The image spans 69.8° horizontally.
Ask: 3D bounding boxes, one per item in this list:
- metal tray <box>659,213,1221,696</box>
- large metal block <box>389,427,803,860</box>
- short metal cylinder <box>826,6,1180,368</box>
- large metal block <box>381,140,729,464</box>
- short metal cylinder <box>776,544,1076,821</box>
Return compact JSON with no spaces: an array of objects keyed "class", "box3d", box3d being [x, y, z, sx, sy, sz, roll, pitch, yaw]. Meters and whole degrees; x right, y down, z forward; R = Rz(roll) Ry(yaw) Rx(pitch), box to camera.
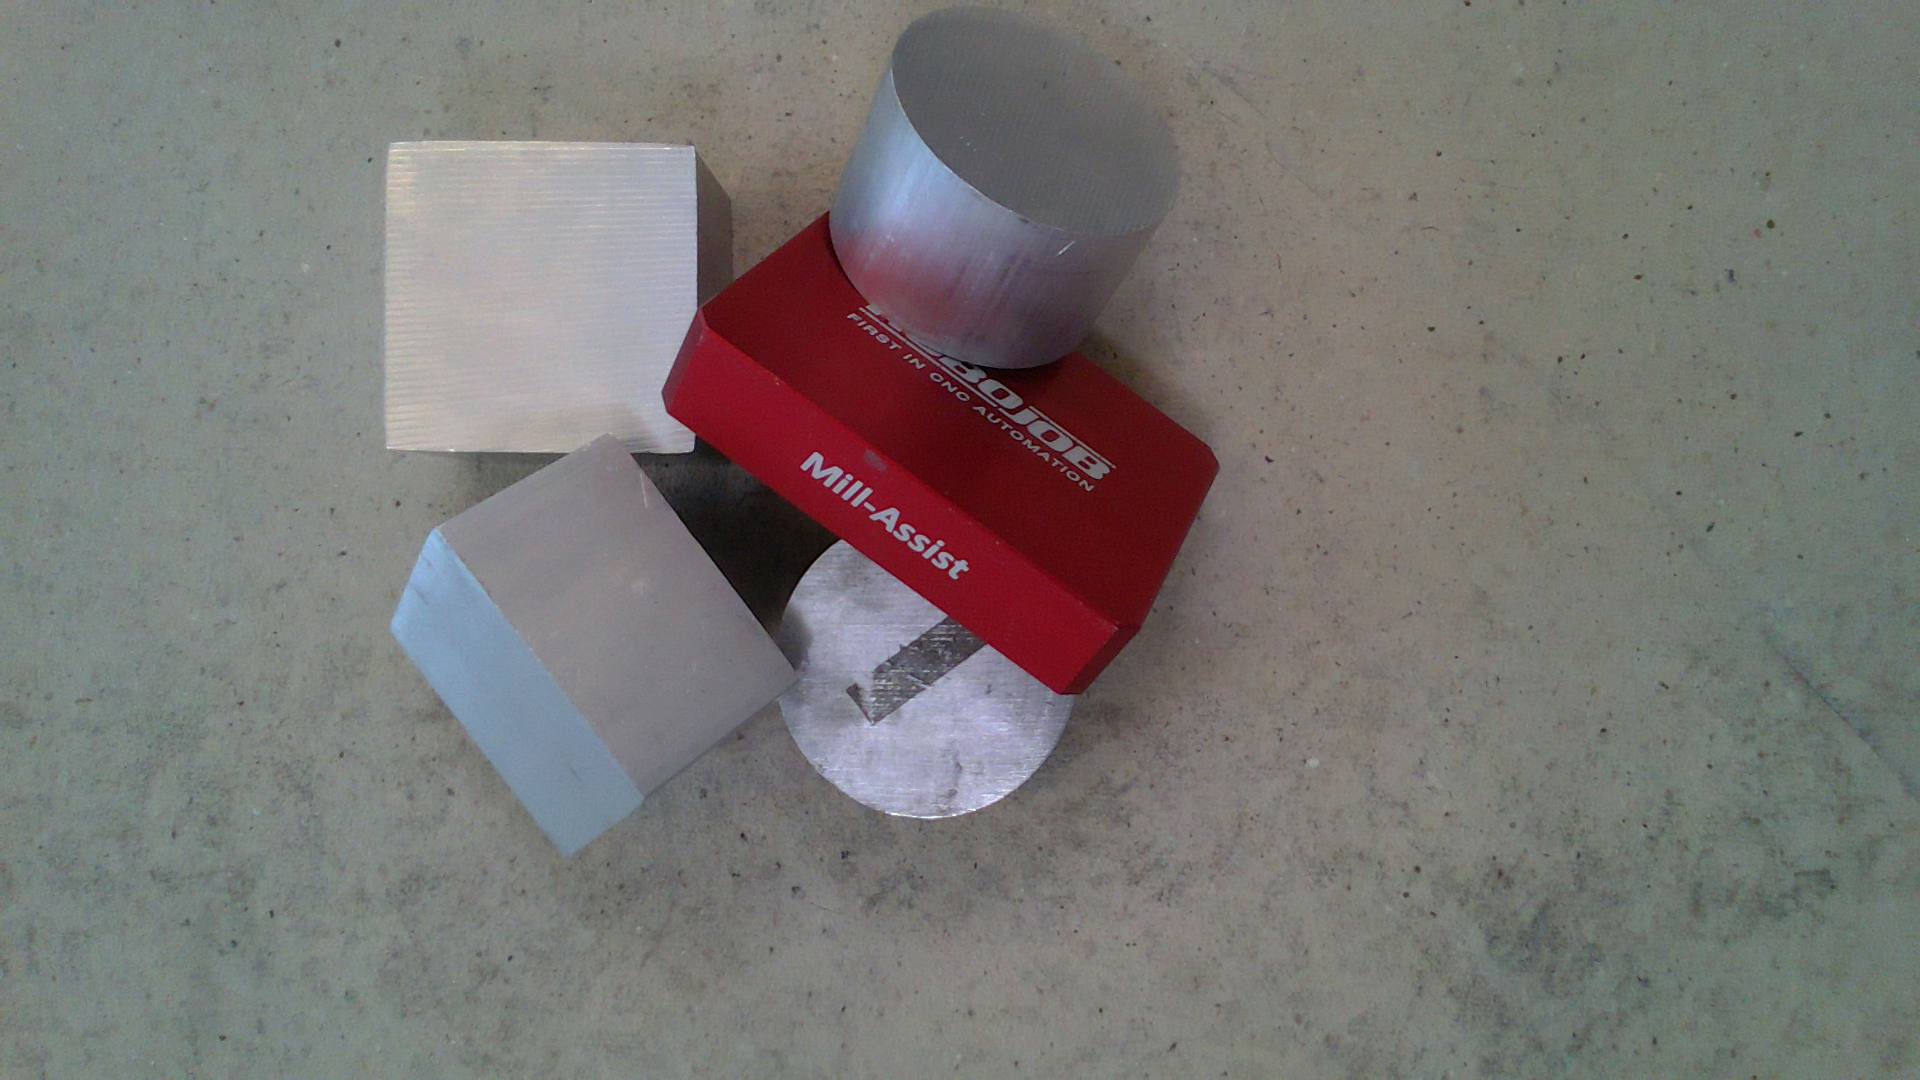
[{"class":"metal tray","box3d":[-0.001,-0.029,0.364,0.130,0.090,0.030,36,130,0]},{"class":"large metal block","box3d":[-0.098,0.030,0.361,0.050,0.080,0.080,-37,90,-36]},{"class":"short metal cylinder","box3d":[0.010,-0.093,0.363,0.080,0.050,0.080,13,53,-18]},{"class":"large metal block","box3d":[-0.109,-0.063,0.380,0.080,0.050,0.080,1,90,0]},{"class":"short metal cylinder","box3d":[-0.009,0.033,0.384,0.080,0.050,0.080,0,90,0]}]
